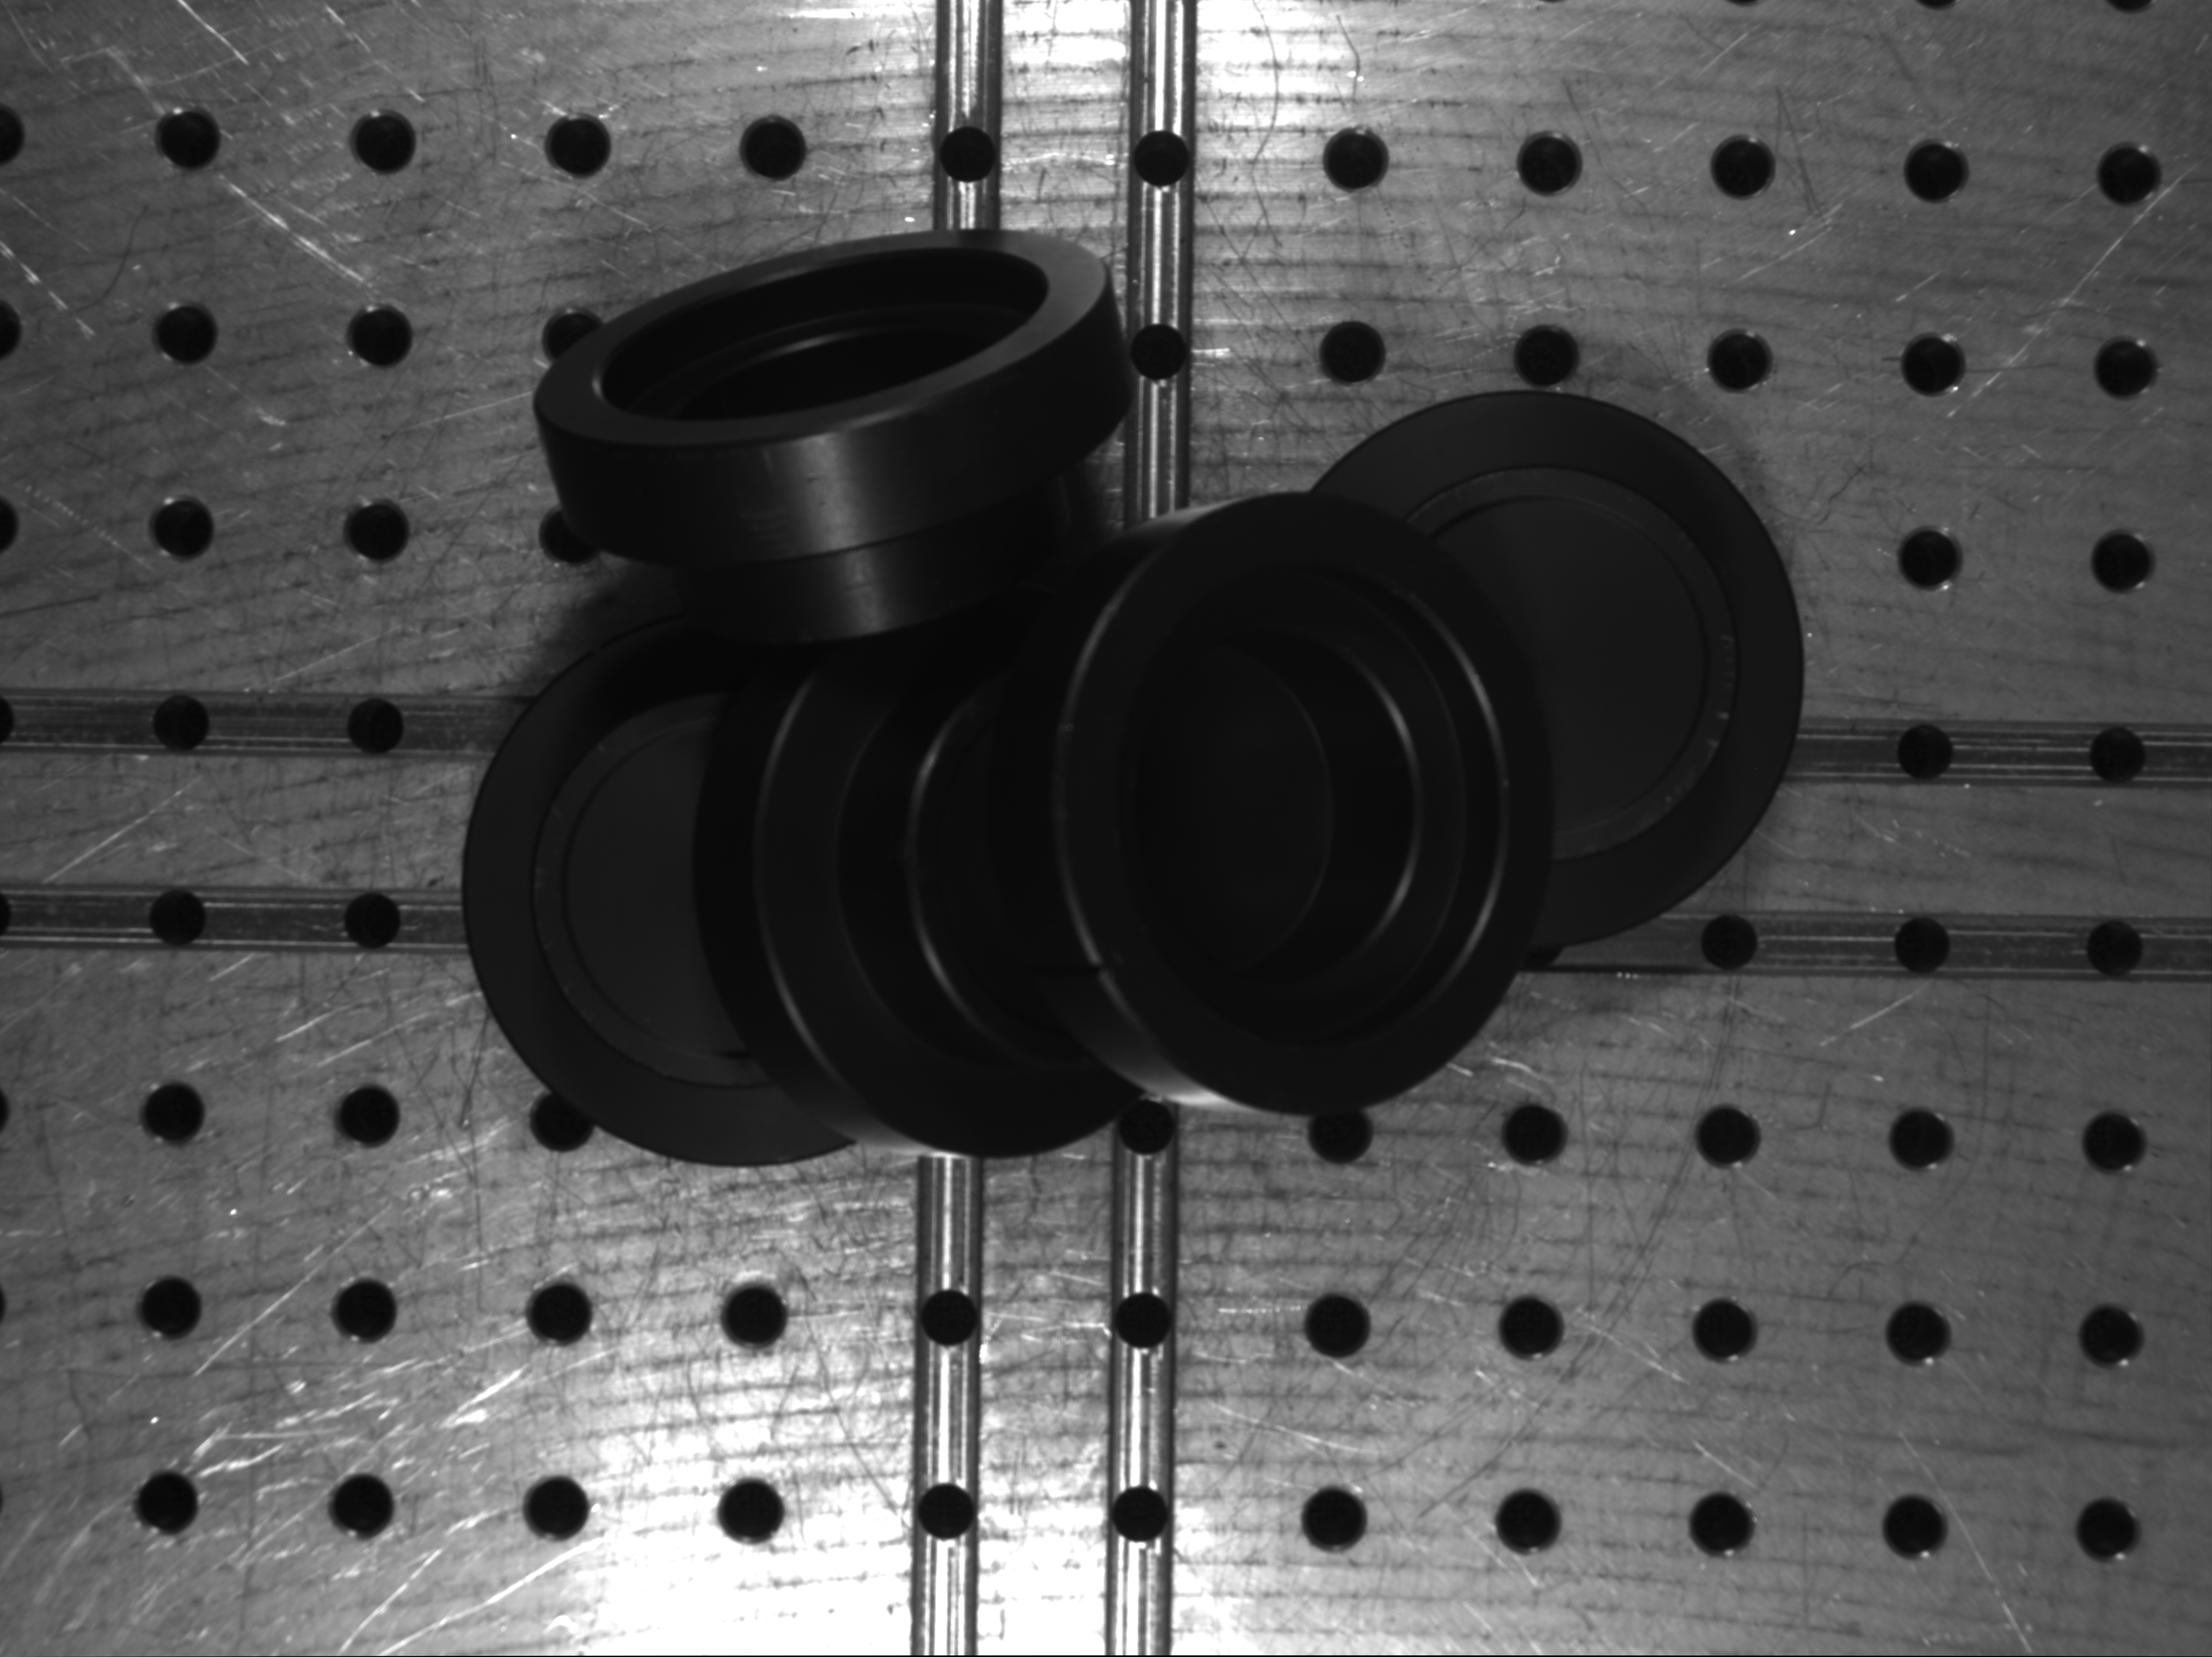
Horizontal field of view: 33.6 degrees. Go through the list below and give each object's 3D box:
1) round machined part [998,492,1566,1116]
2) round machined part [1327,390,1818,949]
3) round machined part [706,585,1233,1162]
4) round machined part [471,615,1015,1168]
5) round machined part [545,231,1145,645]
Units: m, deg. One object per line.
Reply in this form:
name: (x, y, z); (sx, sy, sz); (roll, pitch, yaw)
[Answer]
round machined part: (0.024, -0.003, 0.591); (0.098, 0.042, 0.098); (1, 88, -33)
round machined part: (0.076, -0.028, 0.640); (0.098, 0.042, 0.098); (0, 90, 0)
round machined part: (-0.015, 0.007, 0.615); (0.098, 0.042, 0.098); (3, 85, -37)
round machined part: (-0.062, 0.010, 0.638); (0.098, 0.042, 0.098); (0, 90, 0)
round machined part: (-0.041, -0.064, 0.616); (0.098, 0.098, 0.042); (-12, 115, 0)
